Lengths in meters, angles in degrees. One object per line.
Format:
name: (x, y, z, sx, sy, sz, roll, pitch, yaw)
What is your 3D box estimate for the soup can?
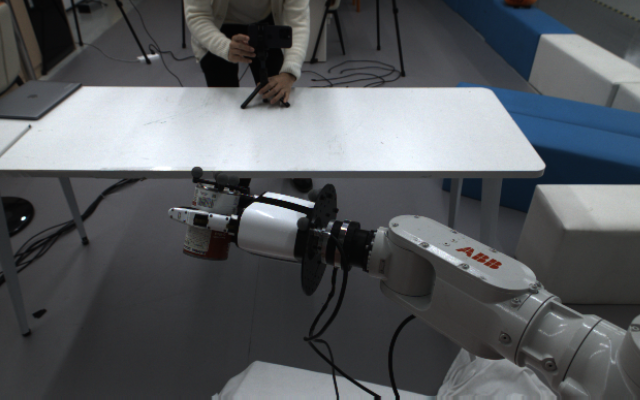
soup can: (-0.158, 0.033, 0.710, 0.067, 0.101, 0.067, 12, 2, 0)
